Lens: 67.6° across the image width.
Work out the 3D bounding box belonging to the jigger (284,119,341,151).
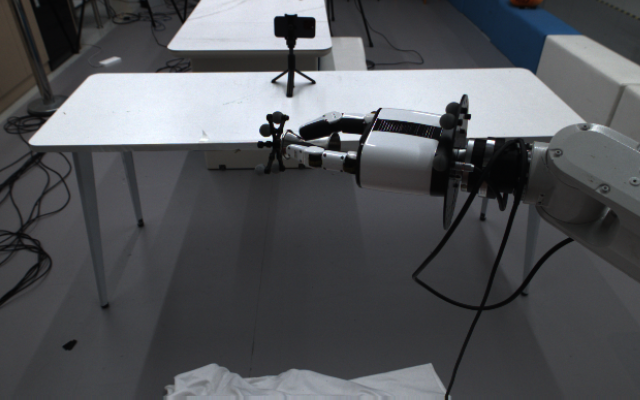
[{"bbox_3d":[-0.007,-0.072,0.630,0.071,0.043,0.043,8,34,23],"label":"jigger"}]
